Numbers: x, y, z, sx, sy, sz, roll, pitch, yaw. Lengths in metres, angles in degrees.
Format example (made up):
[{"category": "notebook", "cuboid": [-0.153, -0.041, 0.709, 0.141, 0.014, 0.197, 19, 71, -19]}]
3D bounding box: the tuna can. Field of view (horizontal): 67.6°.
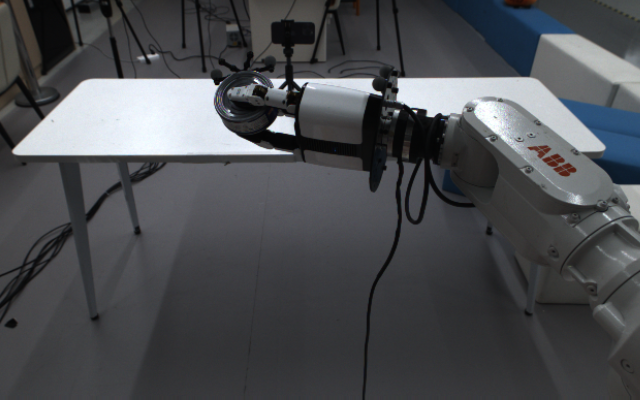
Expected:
[{"category": "tuna can", "cuboid": [-0.097, -0.129, 0.663, 0.085, 0.034, 0.085, -4, 68, 9]}]
